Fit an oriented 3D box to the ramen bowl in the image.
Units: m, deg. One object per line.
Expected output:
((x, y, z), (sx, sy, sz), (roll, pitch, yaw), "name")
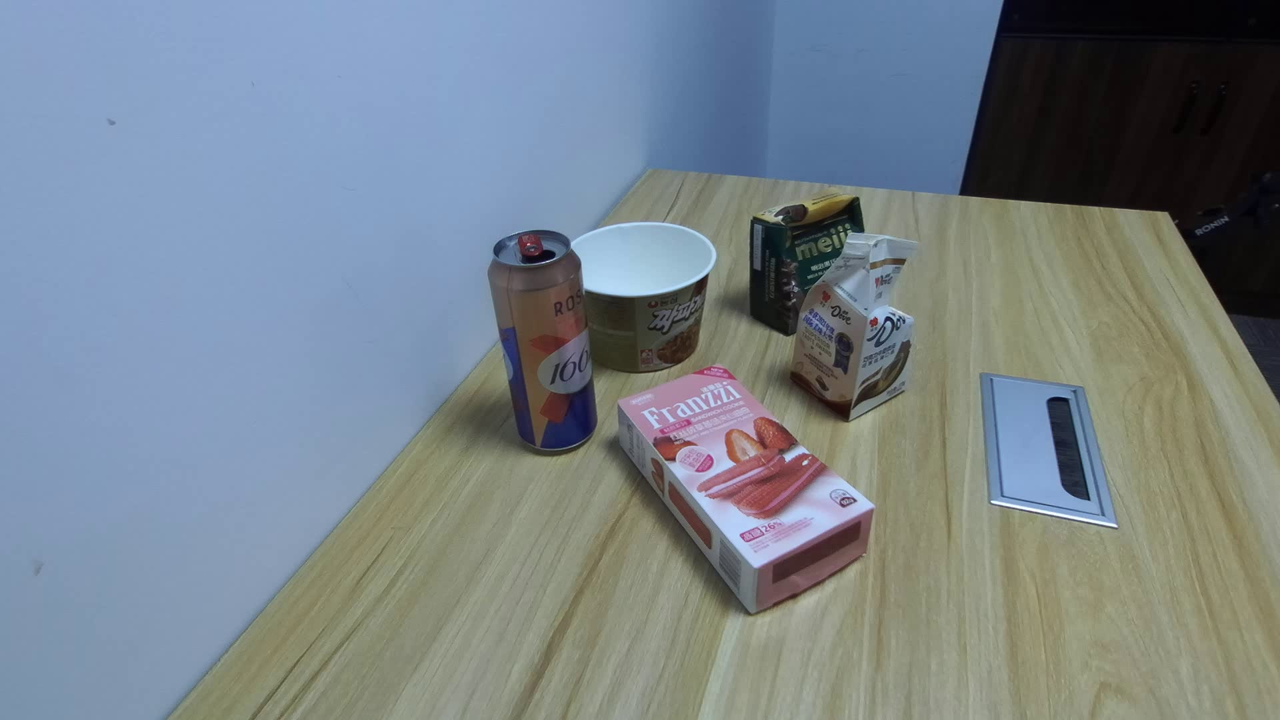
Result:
((-0.001, -0.057, 0.662), (0.140, 0.095, 0.140), (-1, 36, 1), "ramen bowl")

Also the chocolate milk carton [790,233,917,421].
((0.179, -0.038, 0.571), (0.076, 0.156, 0.073), (-22, 42, -27), "chocolate milk carton")

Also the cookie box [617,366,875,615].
((0.072, 0.079, 0.506), (0.105, 0.049, 0.186), (-20, 40, -21), "cookie box")

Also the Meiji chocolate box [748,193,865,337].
((0.166, -0.099, 0.692), (0.118, 0.117, 0.051), (-23, 31, -29), "Meiji chocolate box")

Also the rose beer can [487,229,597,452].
((-0.072, -0.010, 0.541), (0.068, 0.169, 0.068), (-2, 35, 1), "rose beer can")
